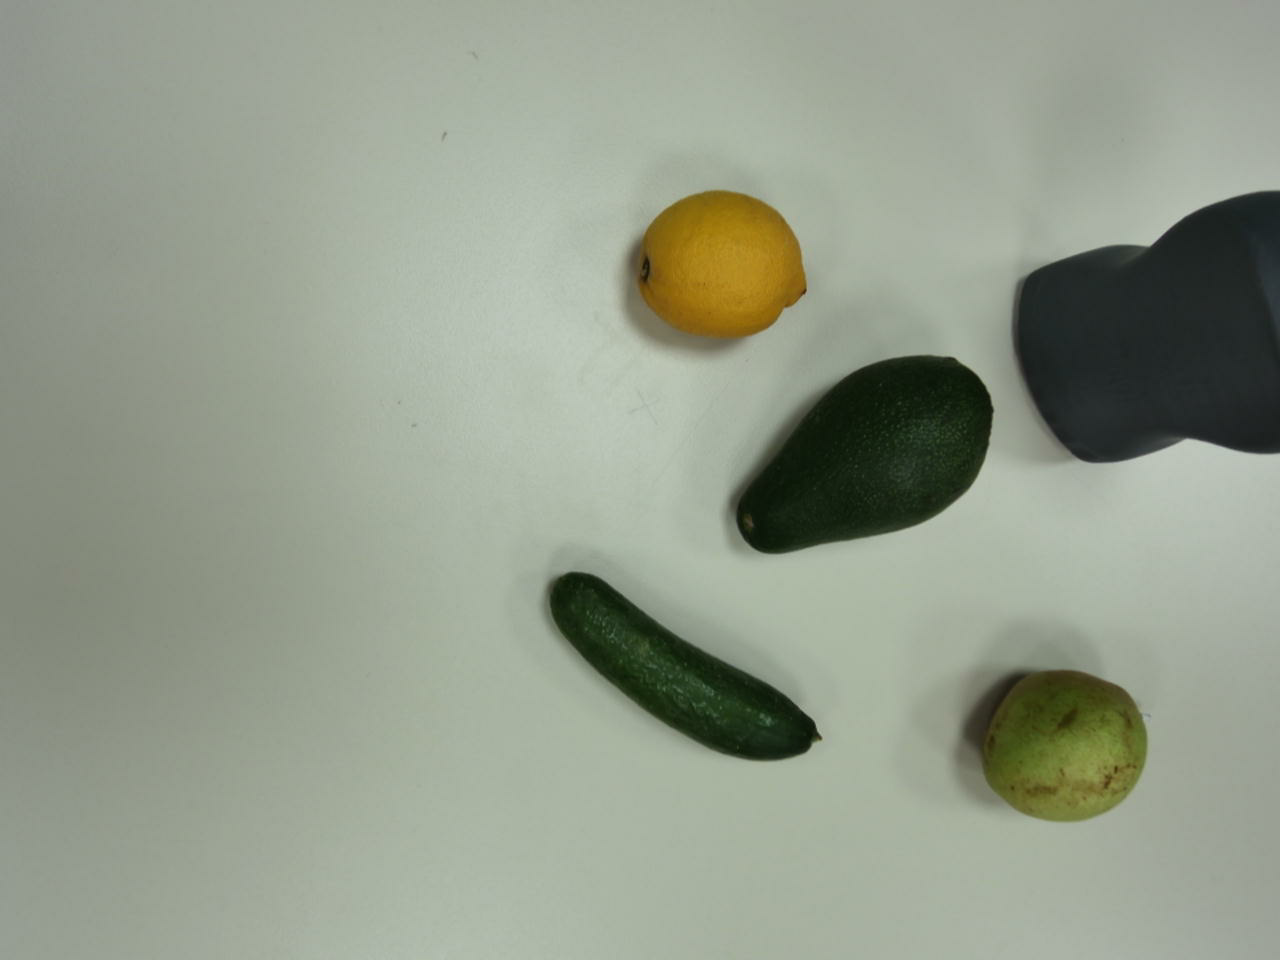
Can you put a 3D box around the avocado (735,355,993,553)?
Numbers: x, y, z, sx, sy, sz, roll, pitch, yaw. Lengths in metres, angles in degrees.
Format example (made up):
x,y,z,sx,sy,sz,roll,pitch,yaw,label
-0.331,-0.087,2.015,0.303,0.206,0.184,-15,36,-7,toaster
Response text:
x,y,z,sx,sy,sz,roll,pitch,yaw,label
0.095,-0.012,0.423,0.109,0.071,0.072,-13,92,-11,avocado
